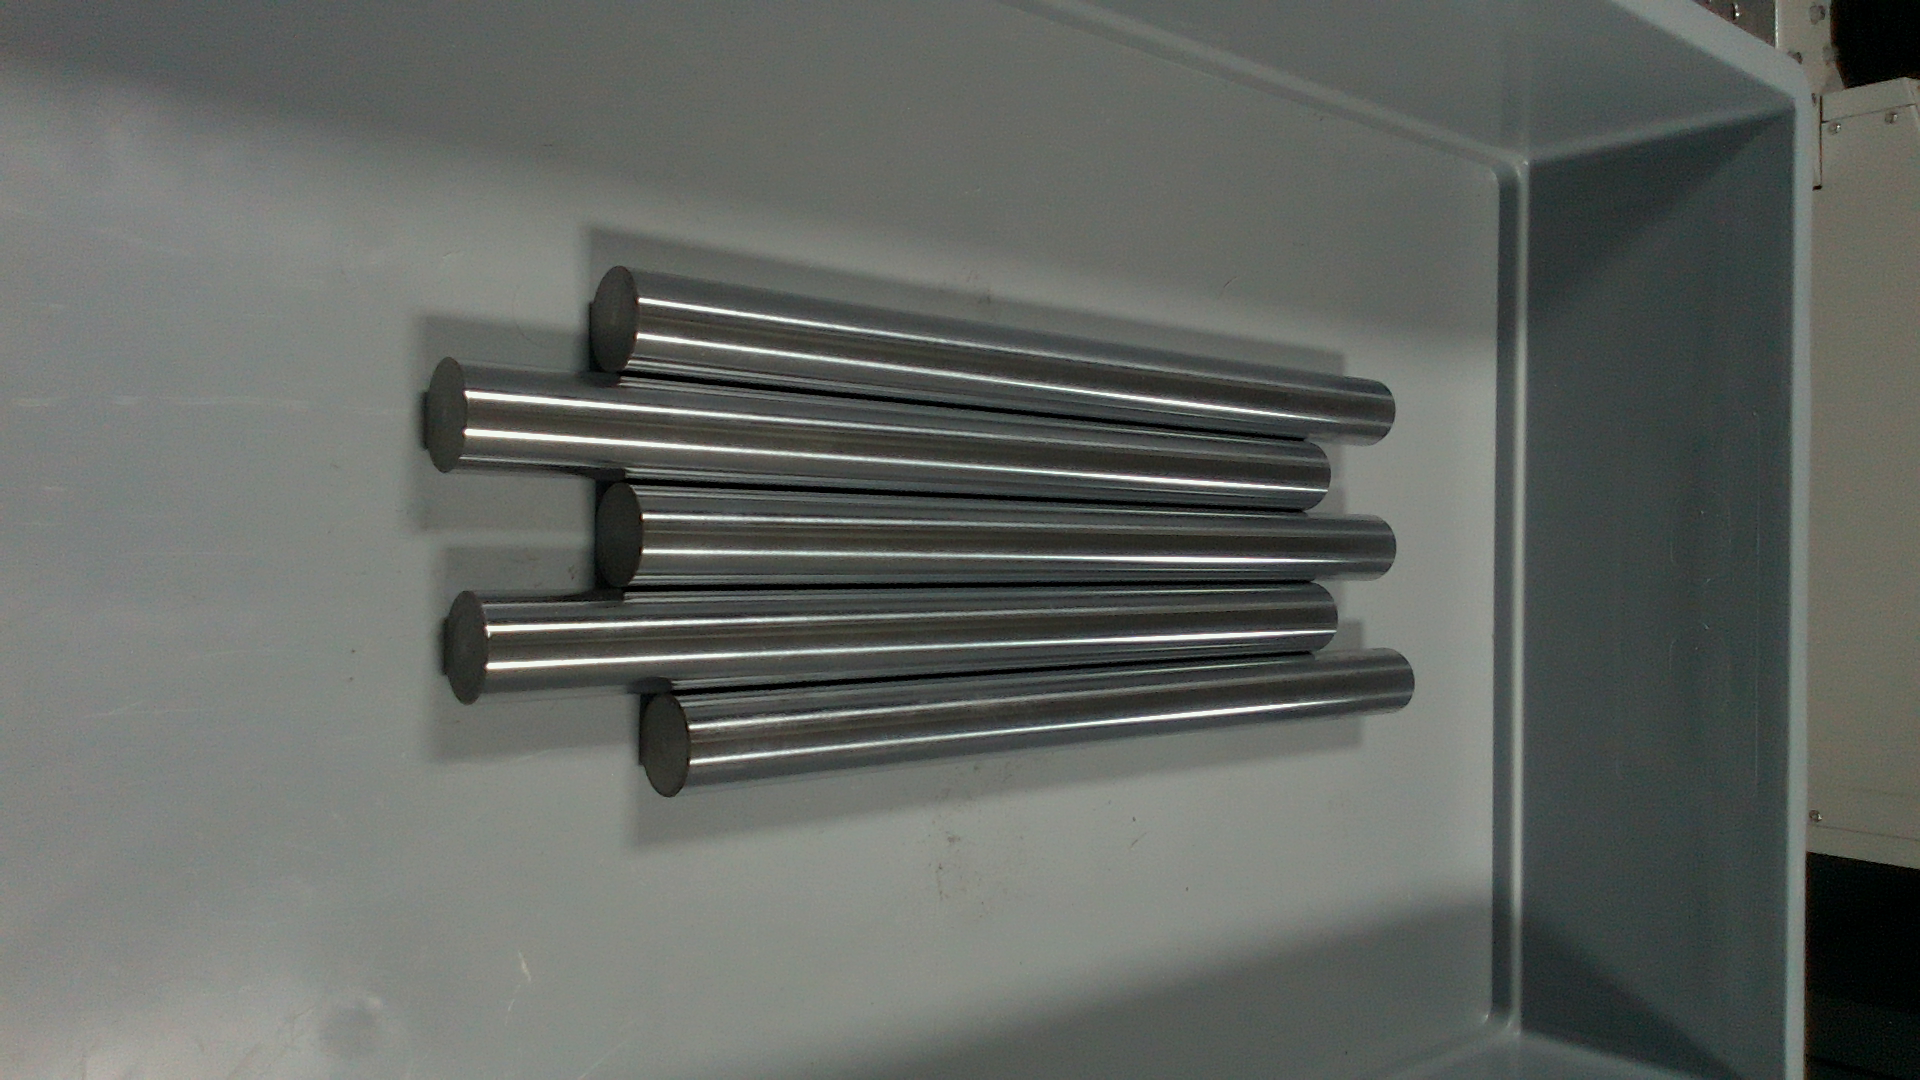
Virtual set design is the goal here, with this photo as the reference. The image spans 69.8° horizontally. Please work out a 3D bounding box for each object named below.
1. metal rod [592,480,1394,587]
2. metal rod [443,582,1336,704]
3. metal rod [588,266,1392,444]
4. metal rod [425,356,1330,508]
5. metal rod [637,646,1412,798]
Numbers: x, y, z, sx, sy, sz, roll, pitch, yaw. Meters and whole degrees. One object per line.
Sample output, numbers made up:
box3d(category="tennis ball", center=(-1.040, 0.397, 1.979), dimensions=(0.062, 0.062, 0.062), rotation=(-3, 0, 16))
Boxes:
box3d(category="metal rod", center=(0.035, 0.001, 0.417), dimensions=(0.301, 0.025, 0.025), rotation=(1, 89, -40))
box3d(category="metal rod", center=(0.008, 0.025, 0.394), dimensions=(0.301, 0.025, 0.025), rotation=(1, 89, -40))
box3d(category="metal rod", center=(0.035, -0.049, 0.416), dimensions=(0.301, 0.025, 0.025), rotation=(1, 89, -40))
box3d(category="metal rod", center=(0.005, -0.025, 0.392), dimensions=(0.301, 0.025, 0.025), rotation=(1, 89, -40))
box3d(category="metal rod", center=(0.044, 0.051, 0.425), dimensions=(0.301, 0.025, 0.025), rotation=(1, 89, -40))
